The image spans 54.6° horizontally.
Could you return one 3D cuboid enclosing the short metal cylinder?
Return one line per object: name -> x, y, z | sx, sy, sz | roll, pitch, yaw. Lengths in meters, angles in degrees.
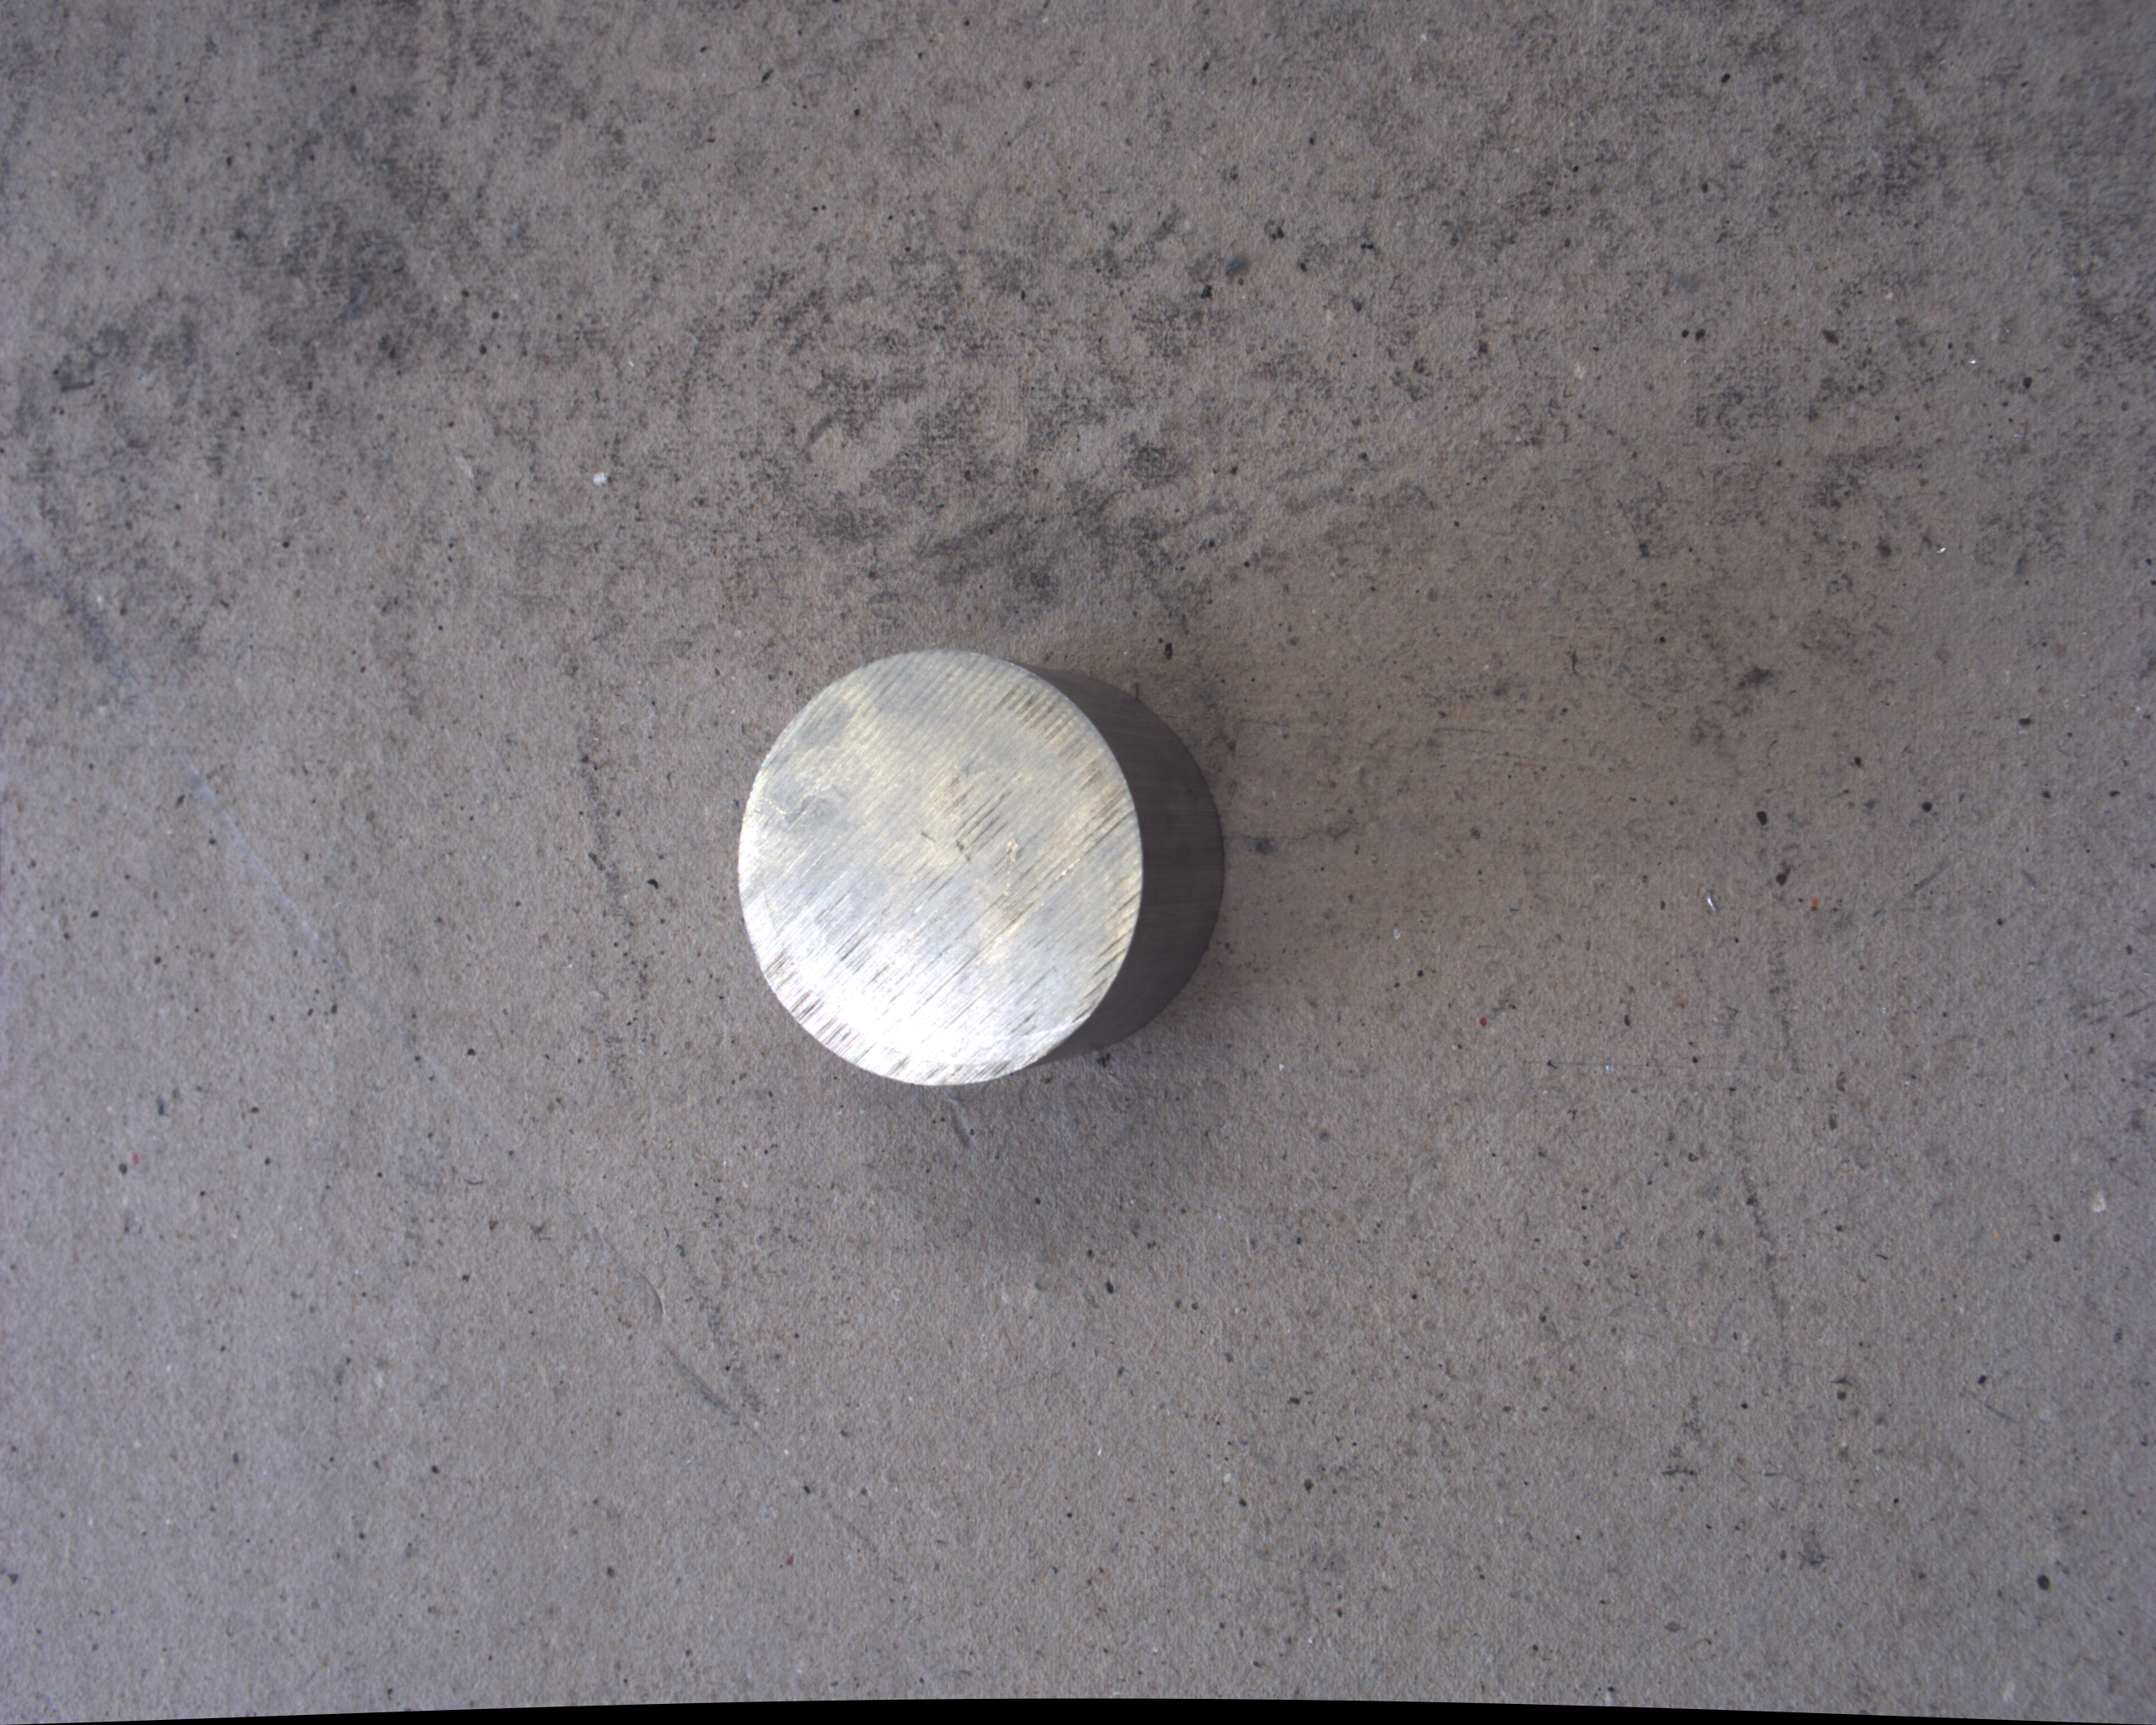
short metal cylinder -> -0.018, 0.001, 0.404 | 0.080, 0.050, 0.080 | 0, 90, 19
